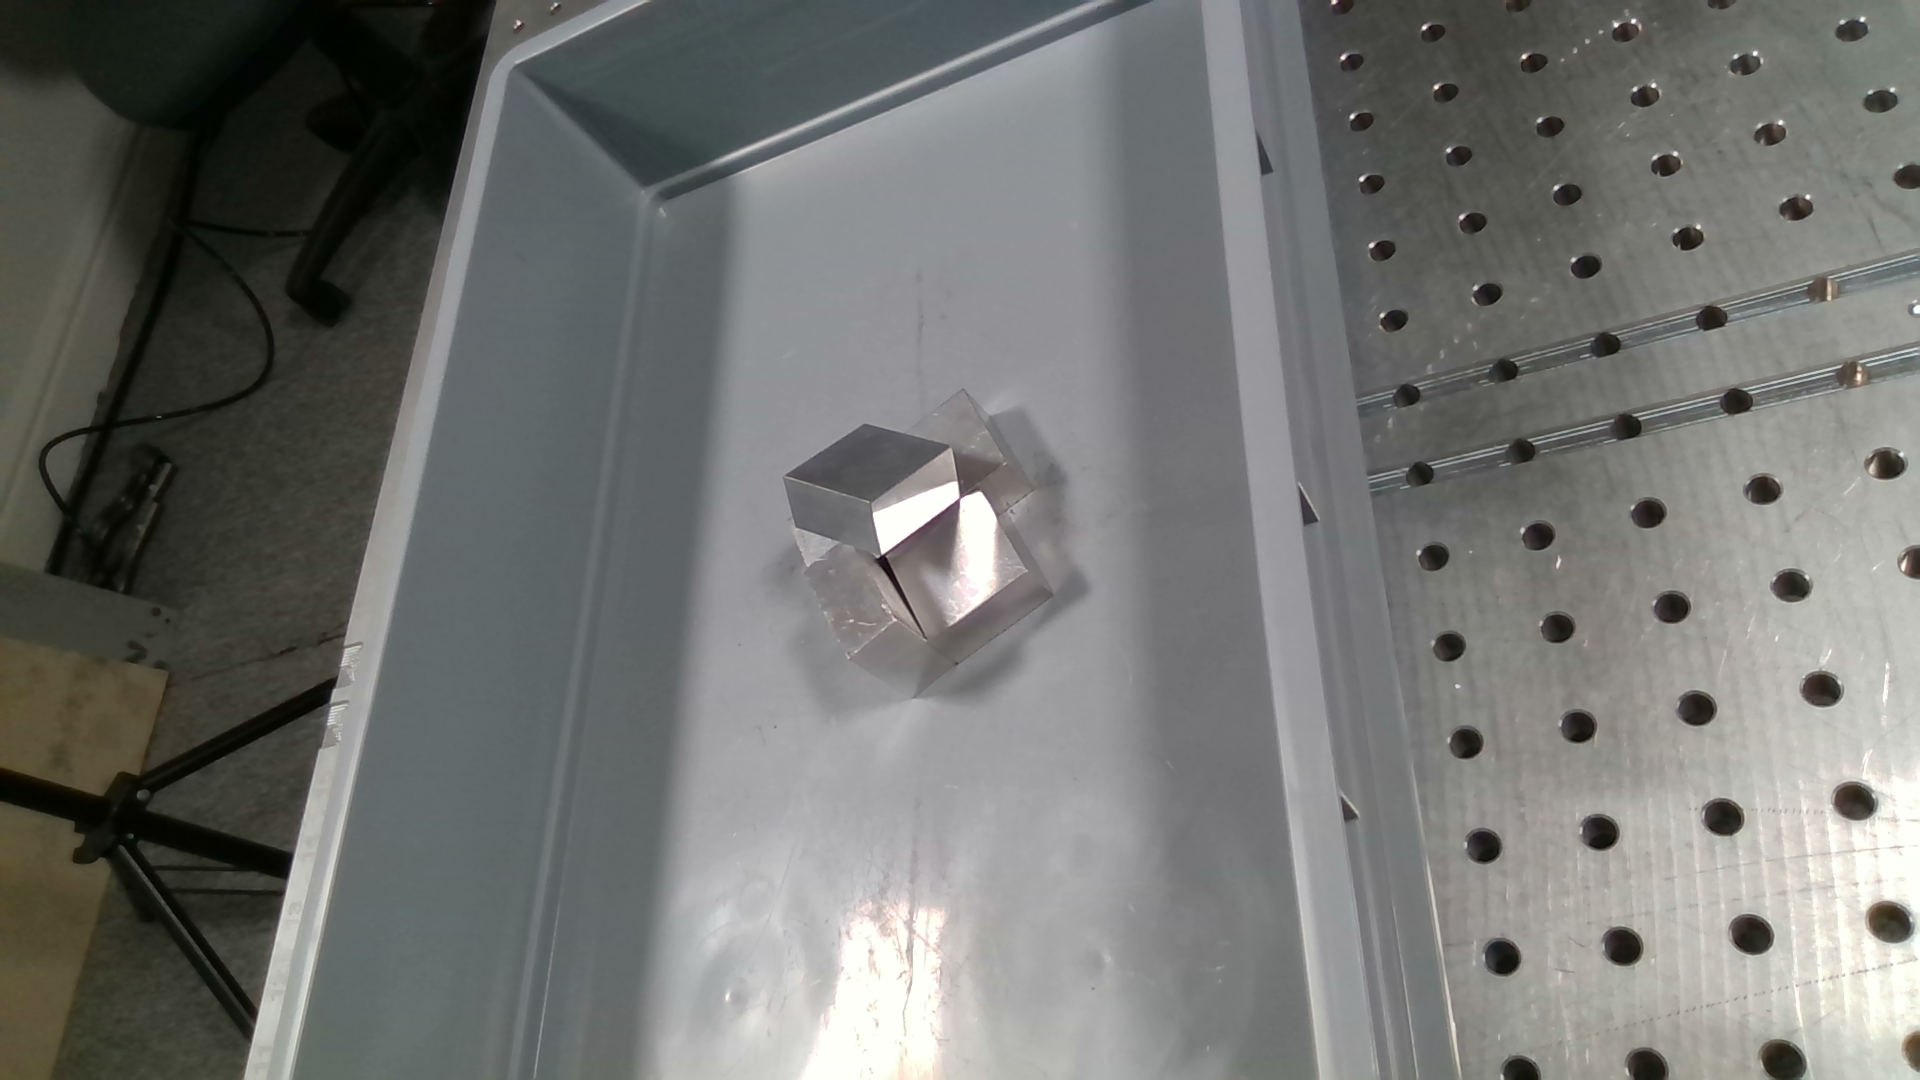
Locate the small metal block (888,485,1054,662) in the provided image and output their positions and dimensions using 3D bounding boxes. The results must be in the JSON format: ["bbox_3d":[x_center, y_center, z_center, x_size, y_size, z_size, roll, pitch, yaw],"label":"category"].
[{"bbox_3d":[0.004,0.014,0.574,0.050,0.025,0.050,-36,52,11],"label":"small metal block"}]

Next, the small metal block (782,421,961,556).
[{"bbox_3d":[-0.036,-0.022,0.570,0.050,0.025,0.050,18,41,37],"label":"small metal block"}]

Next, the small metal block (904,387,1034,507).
[{"bbox_3d":[-0.003,-0.030,0.602,0.050,0.025,0.050,-36,52,11],"label":"small metal block"}]

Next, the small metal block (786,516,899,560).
[{"bbox_3d":[-0.043,-0.001,0.611,0.050,0.025,0.050,-36,52,11],"label":"small metal block"}]

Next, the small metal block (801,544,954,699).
[{"bbox_3d":[-0.034,0.032,0.571,0.025,0.050,0.050,-39,52,8],"label":"small metal block"}]
